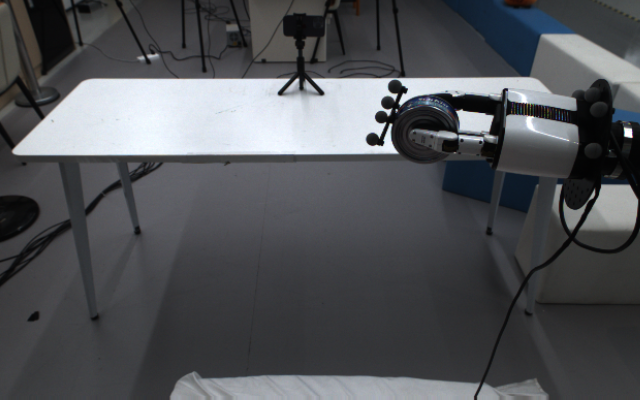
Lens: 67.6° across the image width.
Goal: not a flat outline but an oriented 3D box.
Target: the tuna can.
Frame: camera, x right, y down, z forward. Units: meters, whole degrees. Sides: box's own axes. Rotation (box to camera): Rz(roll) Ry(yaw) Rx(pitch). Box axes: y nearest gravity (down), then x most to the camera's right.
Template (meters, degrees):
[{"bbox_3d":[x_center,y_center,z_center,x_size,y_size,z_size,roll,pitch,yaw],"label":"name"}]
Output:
[{"bbox_3d":[0.138,-0.093,0.633,0.085,0.085,0.034,9,35,10],"label":"tuna can"}]
